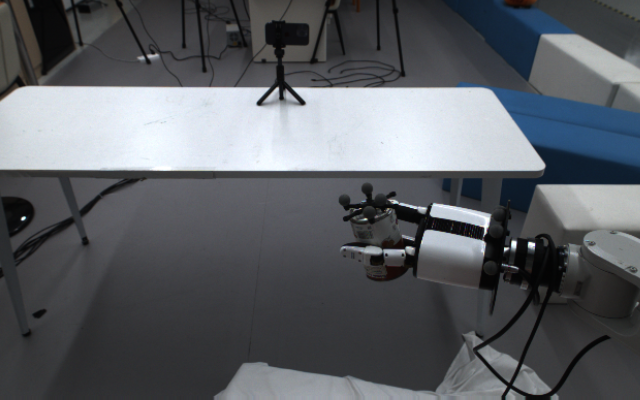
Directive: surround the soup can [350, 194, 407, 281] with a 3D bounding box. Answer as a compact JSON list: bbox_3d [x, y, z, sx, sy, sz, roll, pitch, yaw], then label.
[{"bbox_3d":[0.088,0.058,0.703,0.067,0.101,0.067,-16,23,7],"label":"soup can"}]
